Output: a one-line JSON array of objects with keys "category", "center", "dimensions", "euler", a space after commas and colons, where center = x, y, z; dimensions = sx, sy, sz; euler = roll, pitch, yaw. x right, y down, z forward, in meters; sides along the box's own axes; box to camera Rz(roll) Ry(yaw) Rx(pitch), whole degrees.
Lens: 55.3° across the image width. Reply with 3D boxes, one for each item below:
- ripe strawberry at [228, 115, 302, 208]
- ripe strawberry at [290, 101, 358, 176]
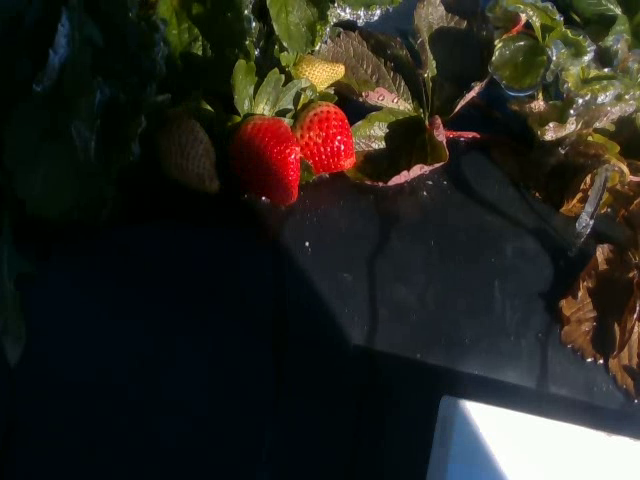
[{"category": "ripe strawberry", "center": [-0.020, -0.030, 0.269], "dimensions": [0.036, 0.040, 0.052], "euler": [-24, 49, -13]}, {"category": "ripe strawberry", "center": [0.005, -0.049, 0.294], "dimensions": [0.041, 0.036, 0.030], "euler": [40, -13, 3]}]
